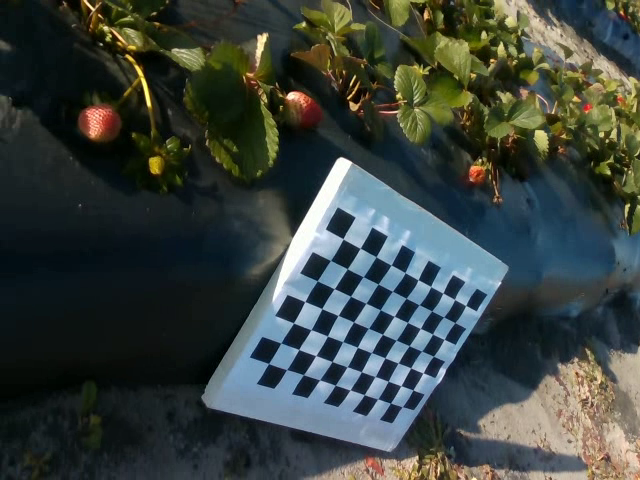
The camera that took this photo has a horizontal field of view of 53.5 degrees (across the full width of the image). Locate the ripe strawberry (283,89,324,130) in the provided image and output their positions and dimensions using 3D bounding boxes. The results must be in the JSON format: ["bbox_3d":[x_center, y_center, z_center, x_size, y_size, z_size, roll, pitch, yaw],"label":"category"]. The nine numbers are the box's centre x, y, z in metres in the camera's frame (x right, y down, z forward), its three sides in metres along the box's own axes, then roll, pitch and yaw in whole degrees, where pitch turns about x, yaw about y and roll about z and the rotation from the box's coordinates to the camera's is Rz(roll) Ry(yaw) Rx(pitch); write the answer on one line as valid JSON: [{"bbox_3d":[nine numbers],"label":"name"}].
[{"bbox_3d":[-0.016,-0.142,0.681,0.064,0.044,0.043,5,18,-39],"label":"ripe strawberry"}]
